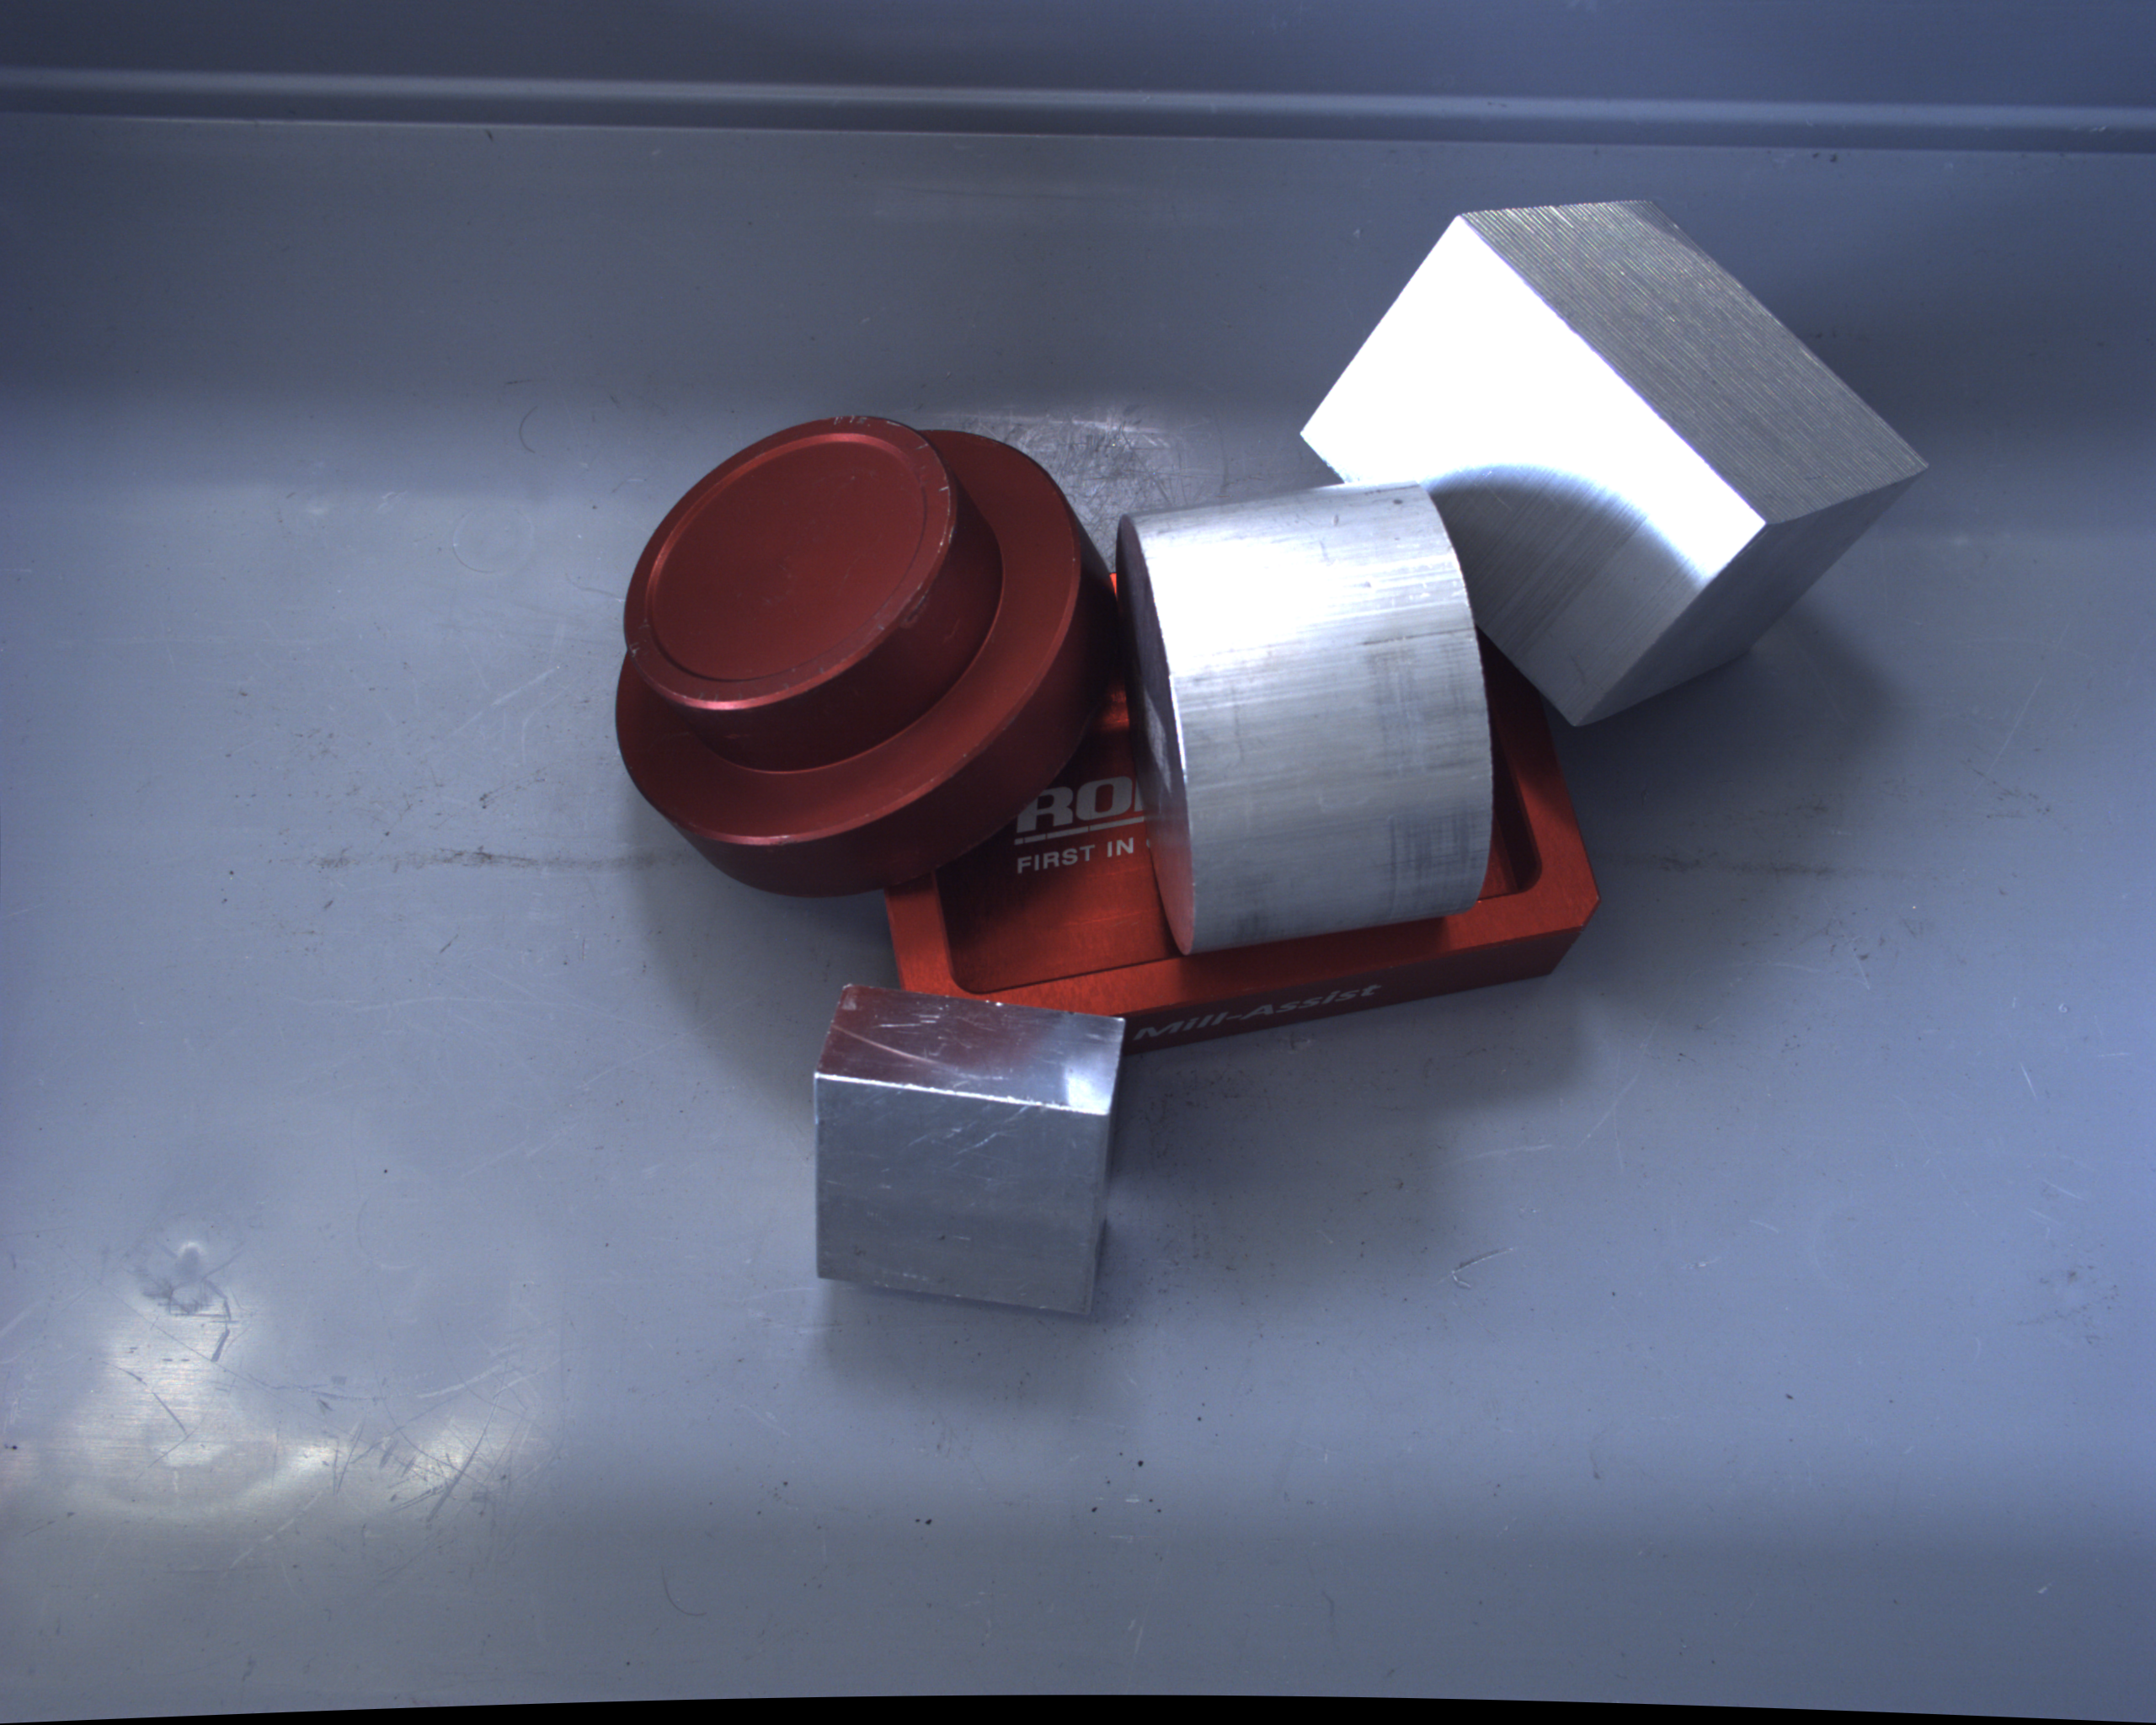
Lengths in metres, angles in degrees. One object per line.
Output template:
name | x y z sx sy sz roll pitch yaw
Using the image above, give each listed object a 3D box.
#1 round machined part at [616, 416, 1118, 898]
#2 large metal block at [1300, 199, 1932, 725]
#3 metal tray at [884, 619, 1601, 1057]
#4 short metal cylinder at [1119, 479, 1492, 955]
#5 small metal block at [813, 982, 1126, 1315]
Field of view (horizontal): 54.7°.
round machined part | -0.046 -0.045 0.395 0.098 0.042 0.098 -13 53 19
large metal block | 0.105 -0.081 0.404 0.081 0.050 0.080 -23 68 -47
metal tray | 0.026 -0.013 0.411 0.131 0.030 0.090 -10 70 -4
short metal cylinder | 0.038 -0.026 0.375 0.050 0.080 0.080 -8 70 -4
small metal block | -0.020 0.051 0.373 0.050 0.050 0.025 7 36 3
